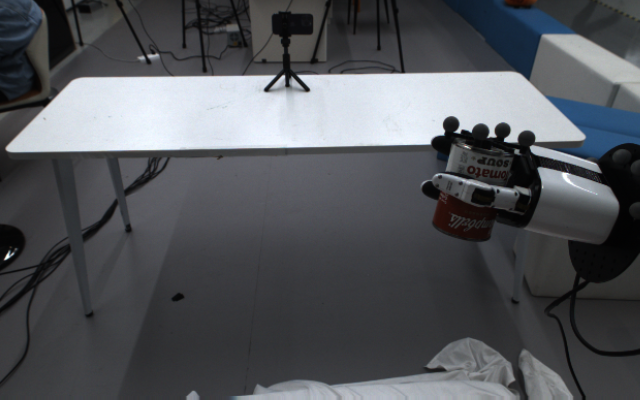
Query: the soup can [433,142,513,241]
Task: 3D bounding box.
[{"bbox_3d":[0.173,-0.013,0.546,0.067,0.101,0.067,9,19,-3],"label":"soup can"}]
